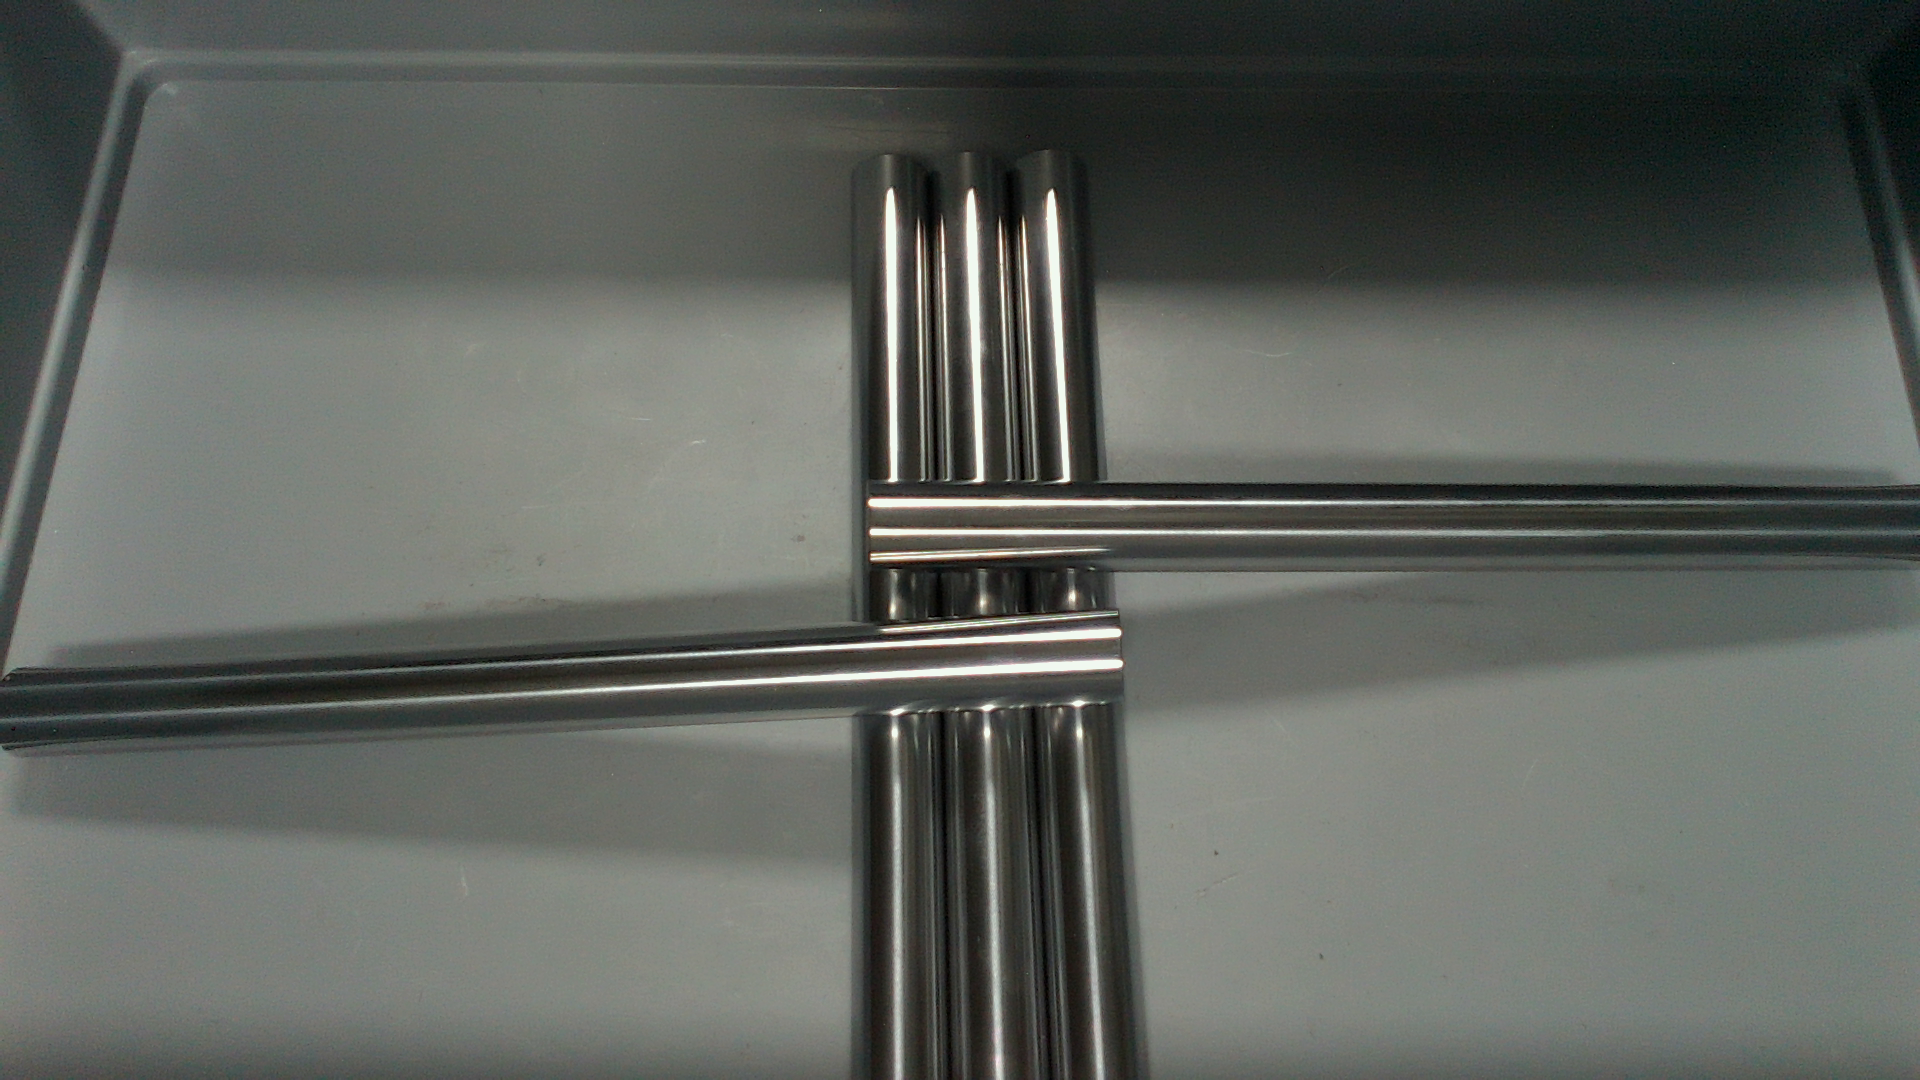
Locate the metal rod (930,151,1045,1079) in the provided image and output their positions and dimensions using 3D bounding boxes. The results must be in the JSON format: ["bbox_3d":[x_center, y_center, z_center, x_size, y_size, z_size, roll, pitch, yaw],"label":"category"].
[{"bbox_3d":[0.006,0.025,0.385,0.025,0.025,0.300,-1,70,0],"label":"metal rod"}]

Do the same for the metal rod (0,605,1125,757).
[{"bbox_3d":[-0.108,0.038,0.362,0.300,0.025,0.025,-3,70,5],"label":"metal rod"}]

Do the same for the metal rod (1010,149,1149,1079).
[{"bbox_3d":[0.032,0.024,0.385,0.025,0.025,0.300,-1,70,0],"label":"metal rod"}]

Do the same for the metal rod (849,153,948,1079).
[{"bbox_3d":[-0.018,0.026,0.384,0.025,0.025,0.300,-1,70,0],"label":"metal rod"}]

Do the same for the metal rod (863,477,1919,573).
[{"bbox_3d":[0.124,-0.004,0.377,0.300,0.025,0.025,0,70,-7],"label":"metal rod"}]
